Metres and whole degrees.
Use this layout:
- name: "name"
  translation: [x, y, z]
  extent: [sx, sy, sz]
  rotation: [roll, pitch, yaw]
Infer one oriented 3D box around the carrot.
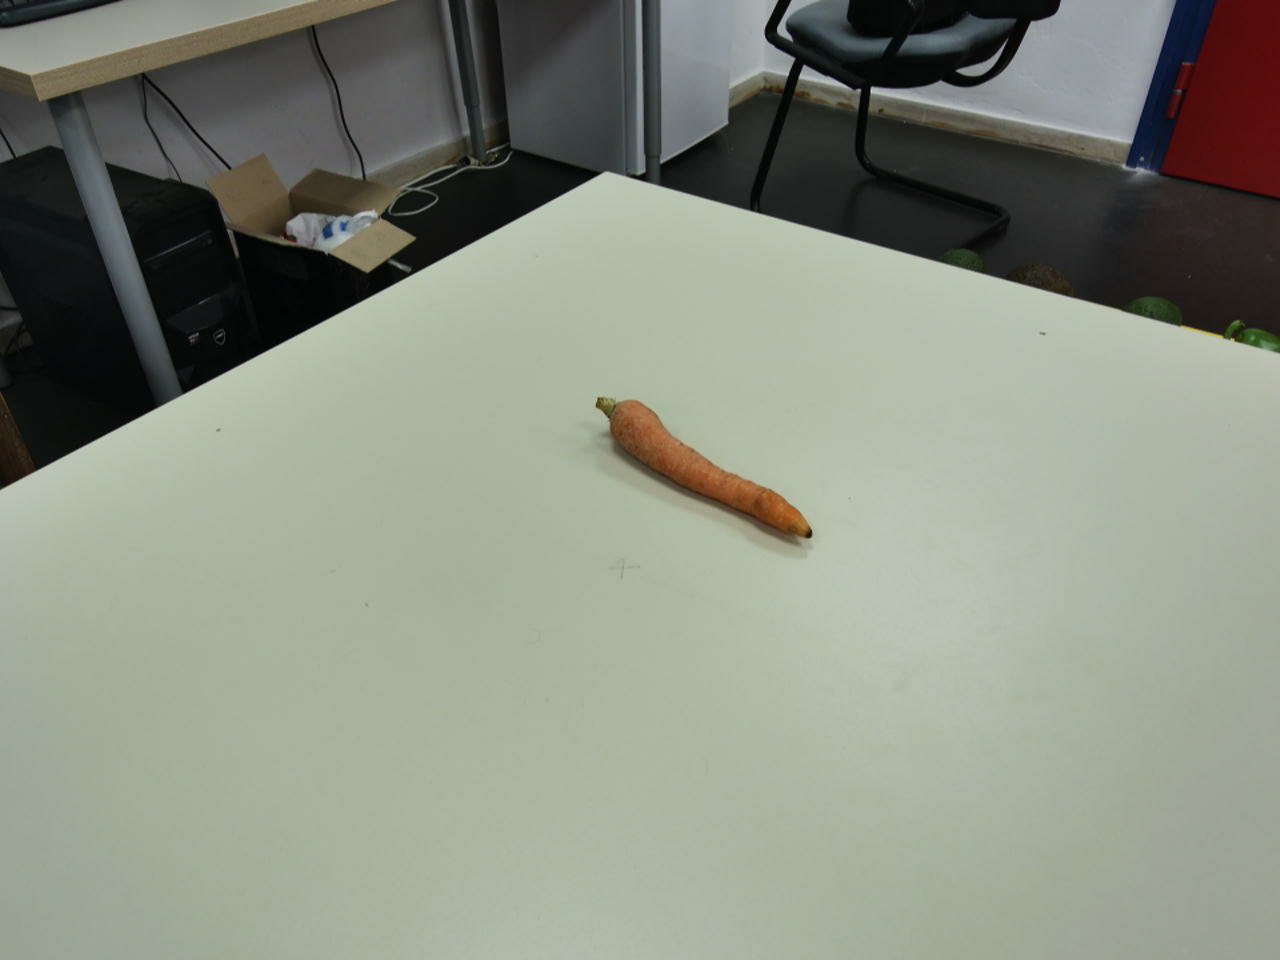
- name: "carrot"
  translation: [0.035, -0.010, 0.610]
  extent: [0.030, 0.032, 0.173]
  rotation: [-31, 47, -33]
